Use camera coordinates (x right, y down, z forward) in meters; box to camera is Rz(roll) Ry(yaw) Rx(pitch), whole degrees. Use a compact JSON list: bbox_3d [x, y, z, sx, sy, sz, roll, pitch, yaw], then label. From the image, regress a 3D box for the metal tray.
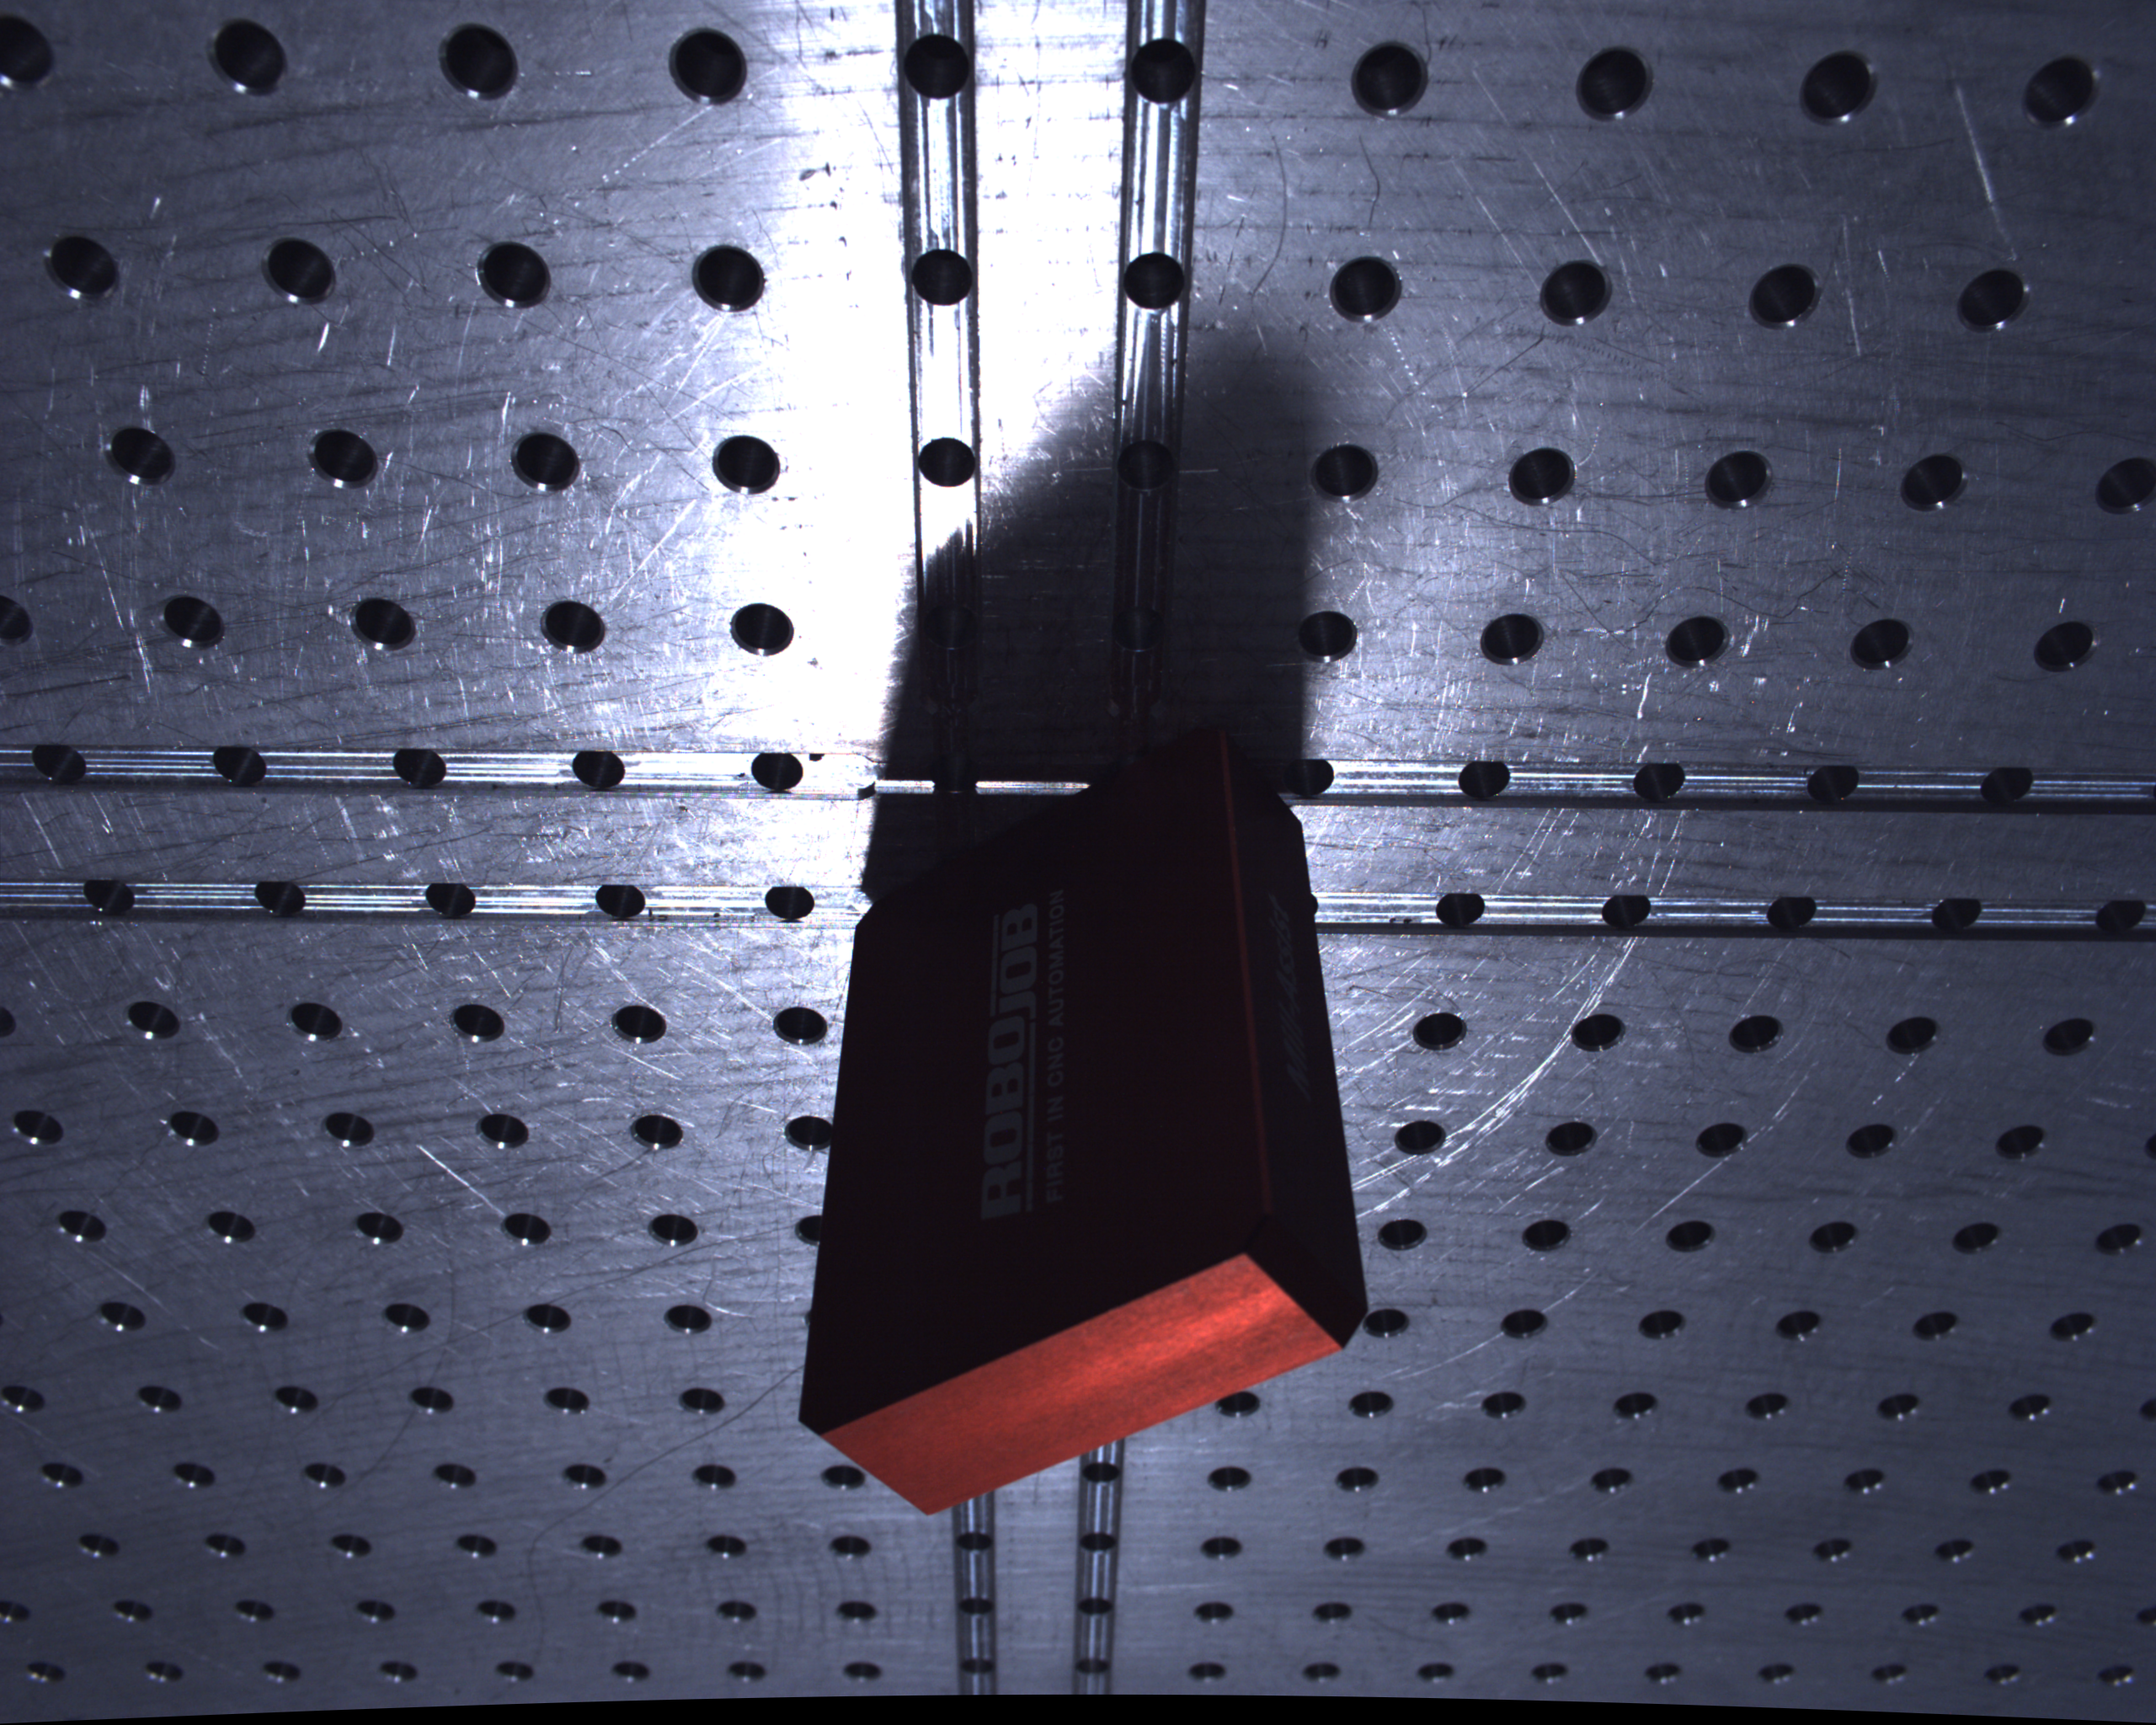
[{"bbox_3d":[-0.001,0.041,0.378,0.090,0.130,0.030,-28,125,21],"label":"metal tray"}]
